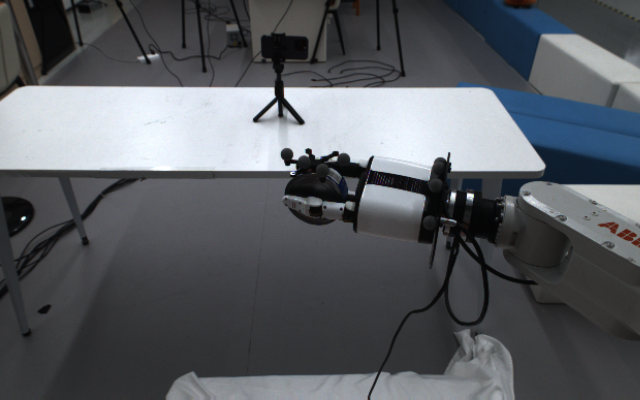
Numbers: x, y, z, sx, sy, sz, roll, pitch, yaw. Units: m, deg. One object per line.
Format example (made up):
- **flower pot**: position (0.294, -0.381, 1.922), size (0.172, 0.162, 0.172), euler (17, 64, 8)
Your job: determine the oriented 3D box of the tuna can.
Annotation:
- **tuna can**: position (-0.003, -0.010, 0.683), size (0.085, 0.085, 0.034), euler (10, 34, 12)
